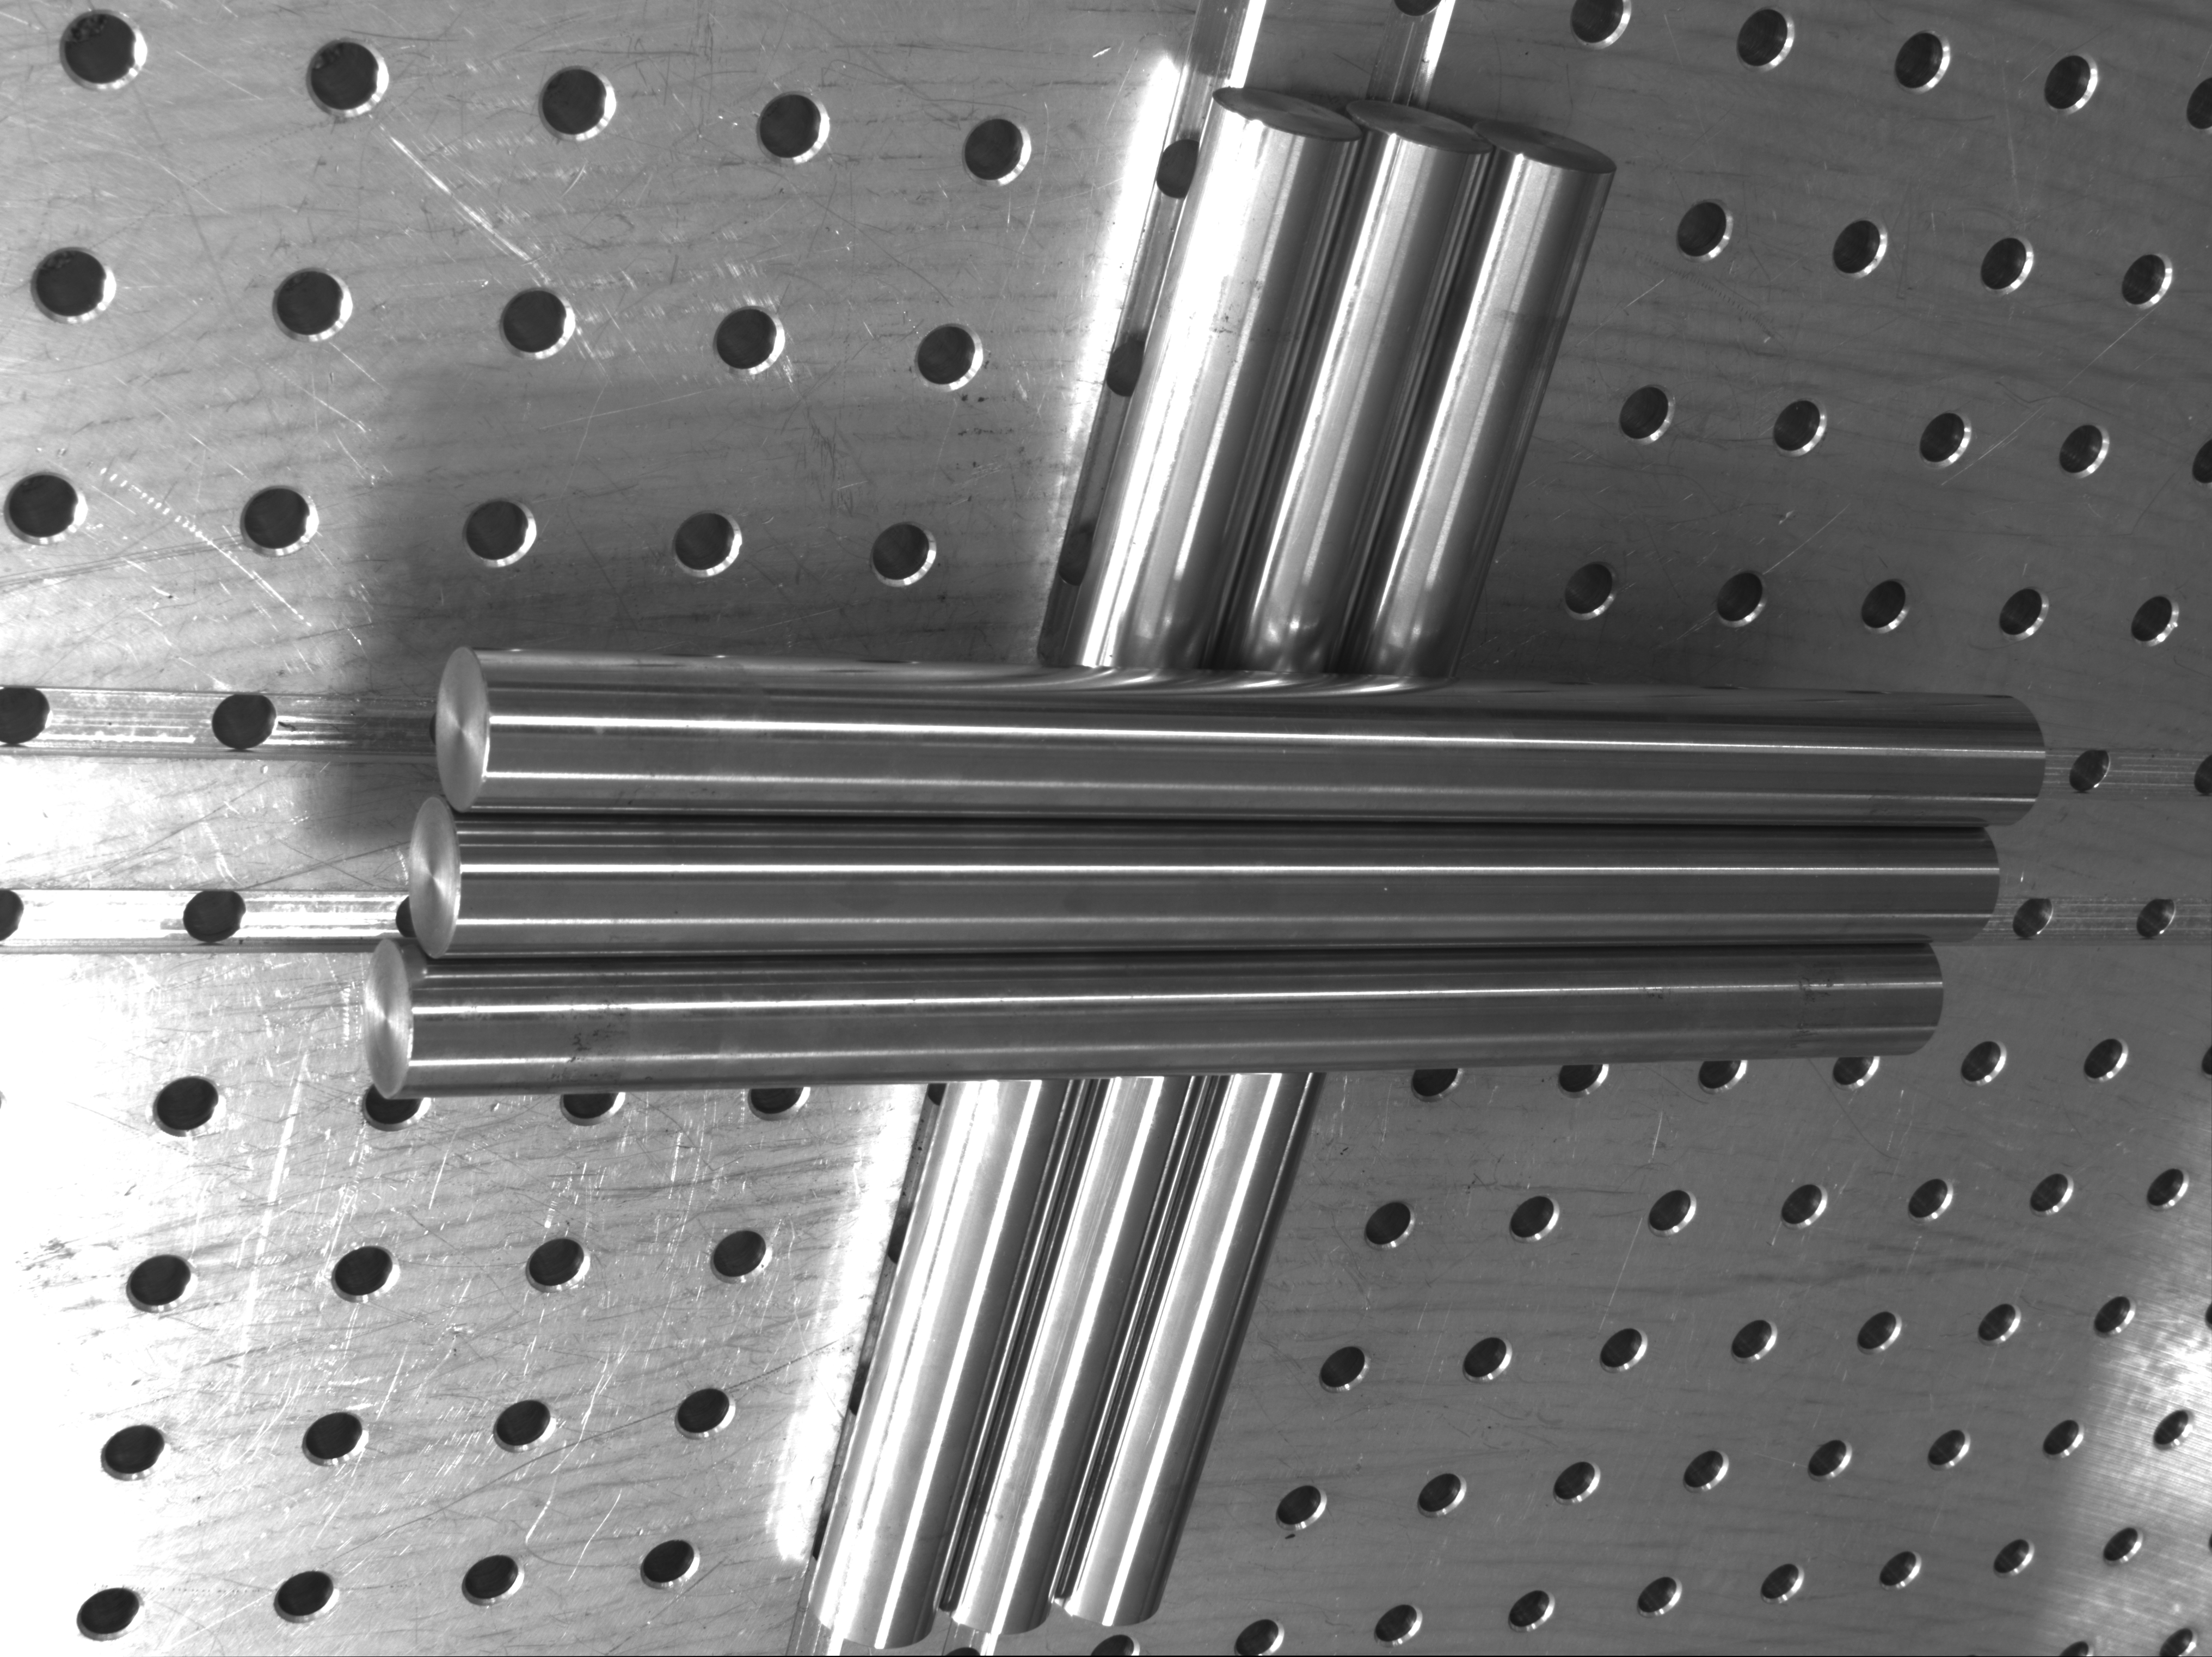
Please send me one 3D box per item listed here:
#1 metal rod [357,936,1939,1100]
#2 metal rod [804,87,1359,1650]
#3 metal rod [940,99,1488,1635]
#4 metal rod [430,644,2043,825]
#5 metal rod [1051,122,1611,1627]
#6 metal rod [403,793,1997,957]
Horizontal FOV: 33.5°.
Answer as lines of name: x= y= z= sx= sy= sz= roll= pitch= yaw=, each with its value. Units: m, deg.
metal rod: x=0.020 y=0.030 z=0.638 sx=0.301 sy=0.025 sz=0.025 roll=0 pitch=118 yaw=-28
metal rod: x=-0.009 y=0.018 z=0.647 sx=0.025 sy=0.025 sz=0.300 roll=2 pitch=117 yaw=-29
metal rod: x=0.013 y=0.018 z=0.658 sx=0.025 sy=0.025 sz=0.300 roll=2 pitch=117 yaw=-29
metal rod: x=0.035 y=-0.014 z=0.619 sx=0.301 sy=0.025 sz=0.025 roll=0 pitch=118 yaw=-28
metal rod: x=0.035 y=0.019 z=0.671 sx=0.025 sy=0.025 sz=0.300 roll=2 pitch=117 yaw=-29
metal rod: x=0.029 y=0.008 z=0.629 sx=0.301 sy=0.025 sz=0.025 roll=0 pitch=118 yaw=-28
